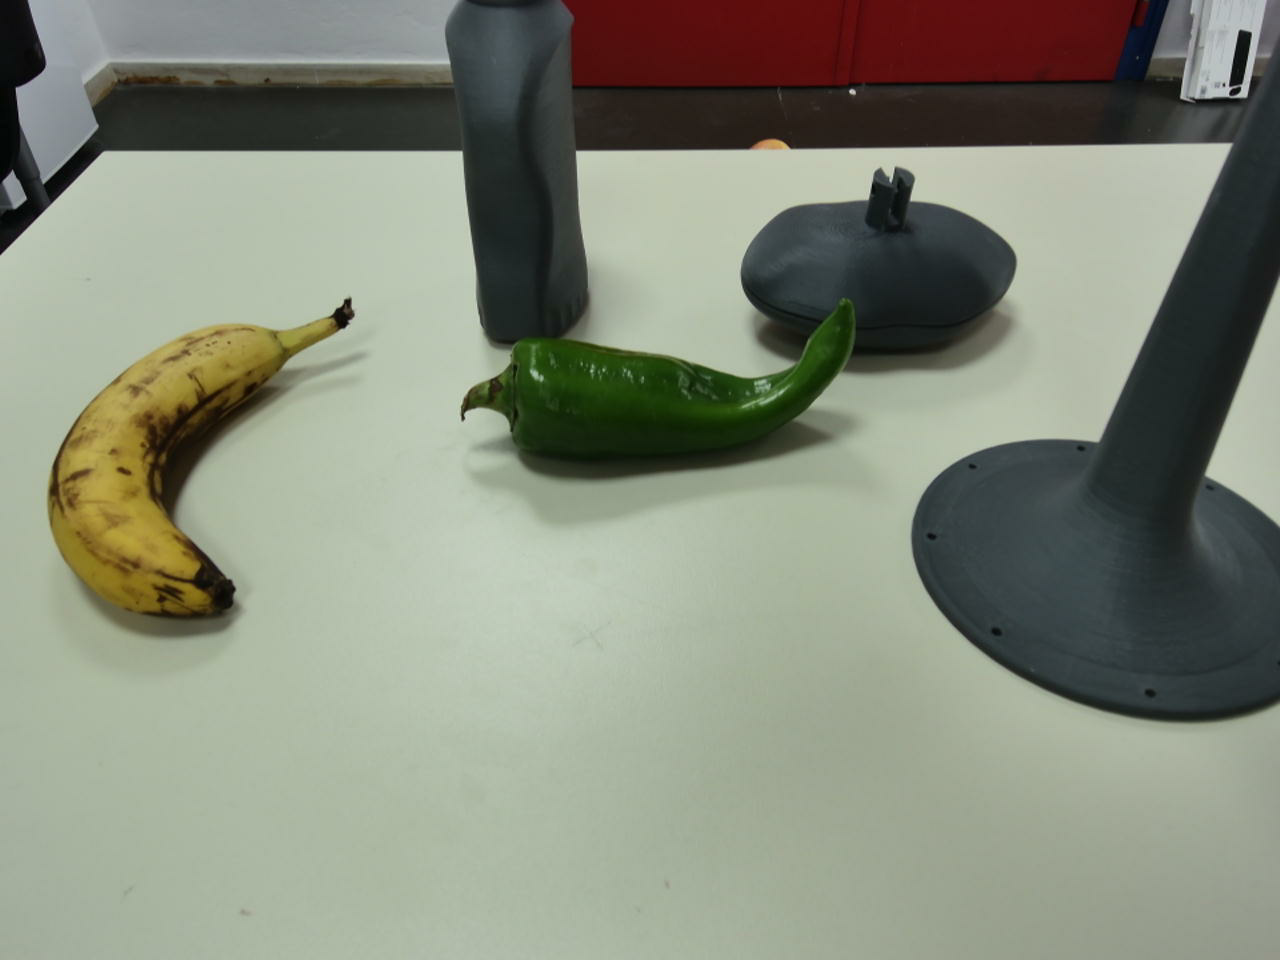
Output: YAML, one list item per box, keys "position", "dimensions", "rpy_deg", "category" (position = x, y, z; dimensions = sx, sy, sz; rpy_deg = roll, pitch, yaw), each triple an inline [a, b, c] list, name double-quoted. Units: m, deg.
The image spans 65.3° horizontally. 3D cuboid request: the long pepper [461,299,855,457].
- position: [0.008, -0.044, 0.440]
  dimensions: [0.175, 0.065, 0.058]
  rpy_deg: [-1, 39, -1]
  category: "long pepper"
